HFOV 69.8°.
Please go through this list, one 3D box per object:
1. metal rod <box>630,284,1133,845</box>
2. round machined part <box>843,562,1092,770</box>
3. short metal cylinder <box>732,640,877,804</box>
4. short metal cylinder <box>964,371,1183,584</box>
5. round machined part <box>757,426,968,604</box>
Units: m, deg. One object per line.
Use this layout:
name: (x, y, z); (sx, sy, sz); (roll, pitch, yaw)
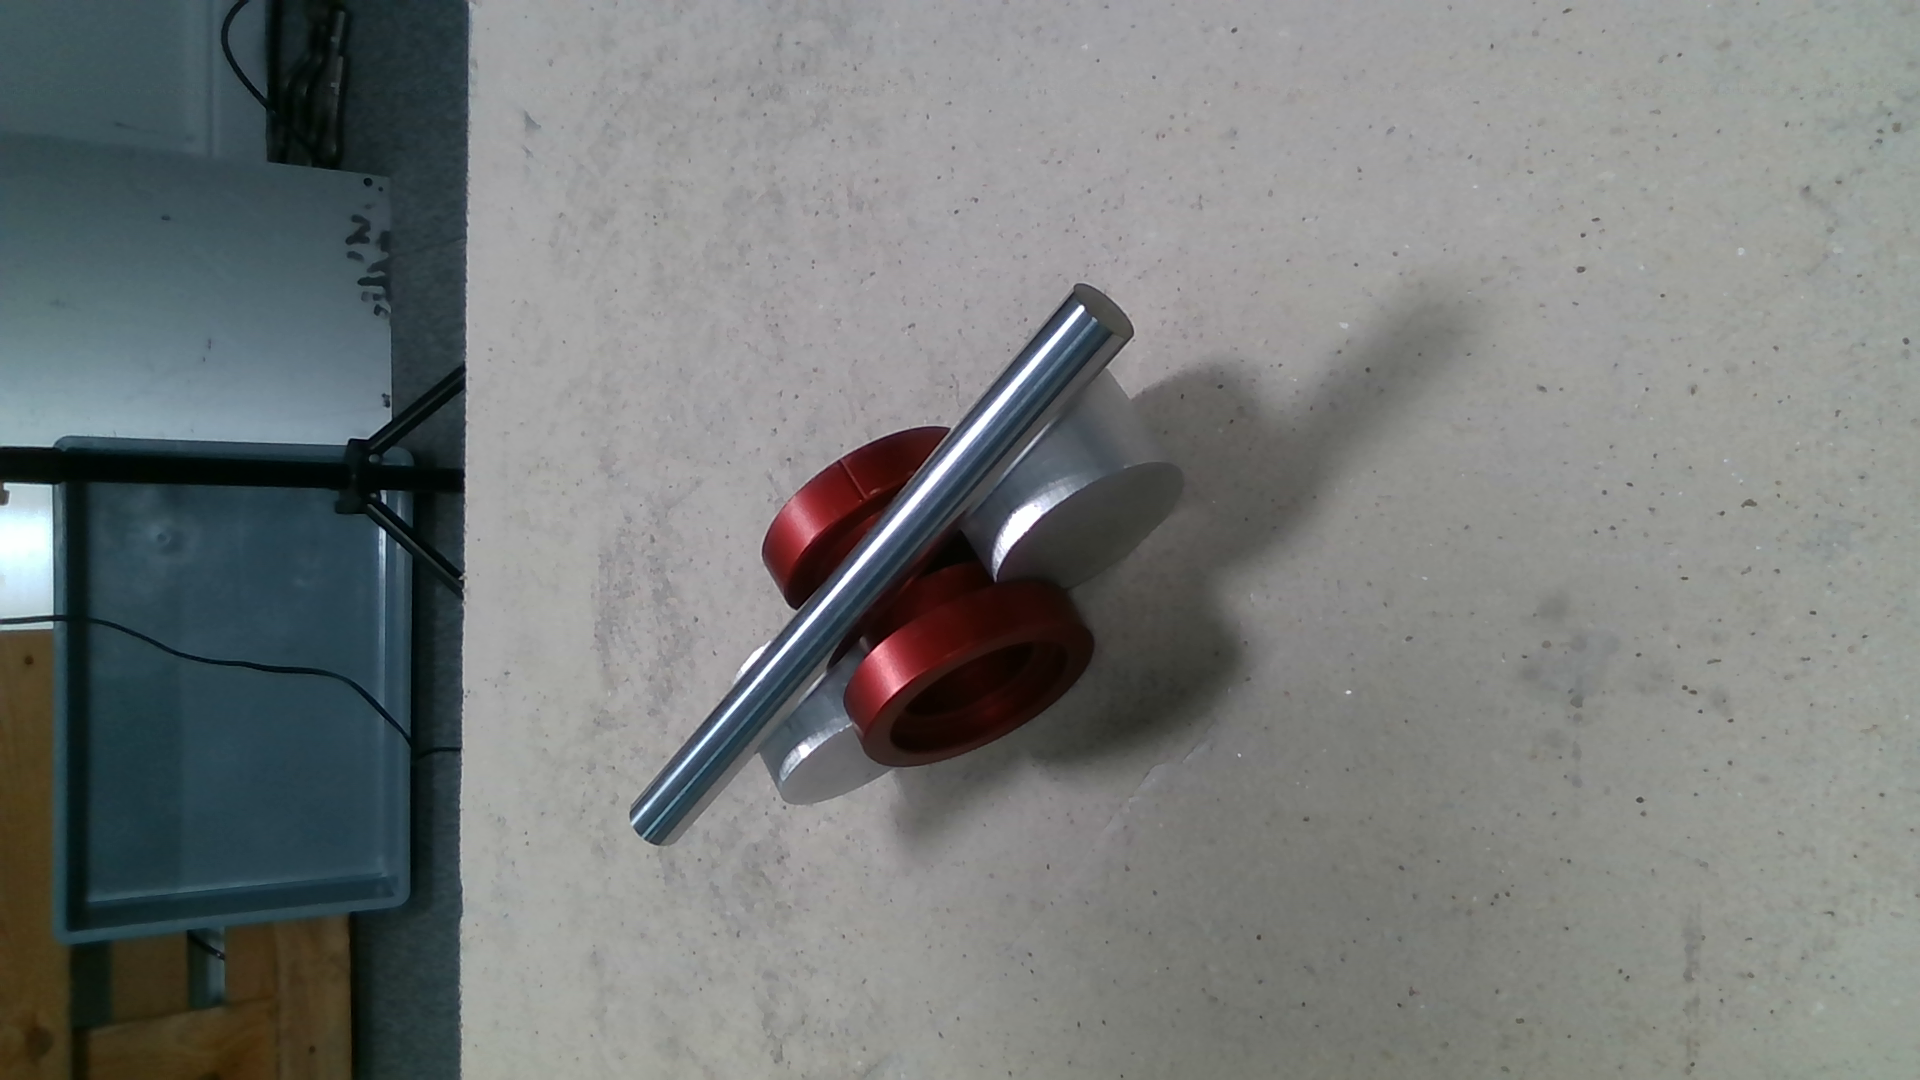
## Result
metal rod: (-0.042, 0.023, 0.514); (0.301, 0.025, 0.025); (-48, 62, 30)
round machined part: (-0.001, 0.045, 0.536); (0.098, 0.098, 0.042); (-47, 57, 30)
short metal cylinder: (-0.052, 0.070, 0.590); (0.080, 0.080, 0.050); (-47, 62, 30)
short metal cylinder: (0.036, -0.023, 0.515); (0.080, 0.080, 0.050); (-47, 62, 30)
round machined part: (-0.030, 0.002, 0.558); (0.098, 0.098, 0.042); (-47, 66, 30)
